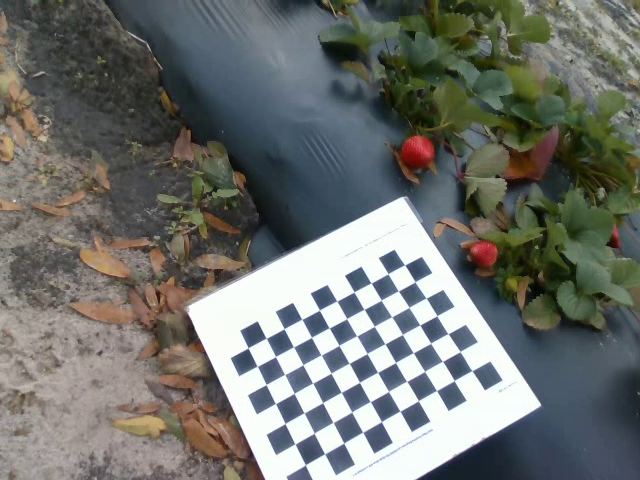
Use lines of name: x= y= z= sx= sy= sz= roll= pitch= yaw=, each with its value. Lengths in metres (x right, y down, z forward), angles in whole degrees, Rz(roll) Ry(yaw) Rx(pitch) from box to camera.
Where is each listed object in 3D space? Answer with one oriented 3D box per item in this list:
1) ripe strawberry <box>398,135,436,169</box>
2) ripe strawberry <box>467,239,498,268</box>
ripe strawberry: x=0.133 y=-0.111 z=0.809 sx=0.046 sy=0.043 sz=0.065 roll=-23 pitch=19 yaw=-4
ripe strawberry: x=0.199 y=0.018 z=0.759 sx=0.037 sy=0.041 sz=0.042 roll=-32 pitch=-24 yaw=34
